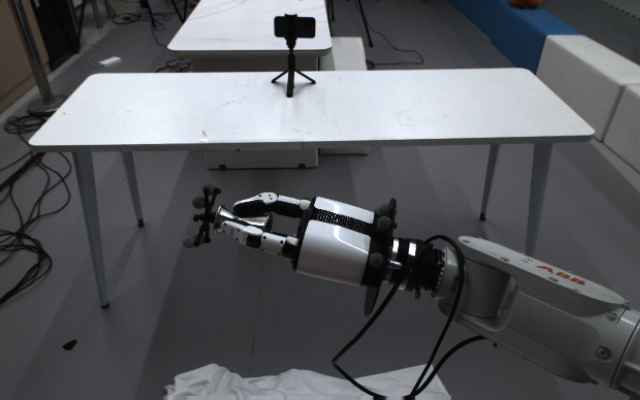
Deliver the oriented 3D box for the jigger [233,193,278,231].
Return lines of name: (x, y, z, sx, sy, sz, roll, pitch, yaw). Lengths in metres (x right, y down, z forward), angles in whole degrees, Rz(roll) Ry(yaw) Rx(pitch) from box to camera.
jigger: (-0.095, 0.029, 0.643, 0.071, 0.043, 0.043, 12, 36, 5)
